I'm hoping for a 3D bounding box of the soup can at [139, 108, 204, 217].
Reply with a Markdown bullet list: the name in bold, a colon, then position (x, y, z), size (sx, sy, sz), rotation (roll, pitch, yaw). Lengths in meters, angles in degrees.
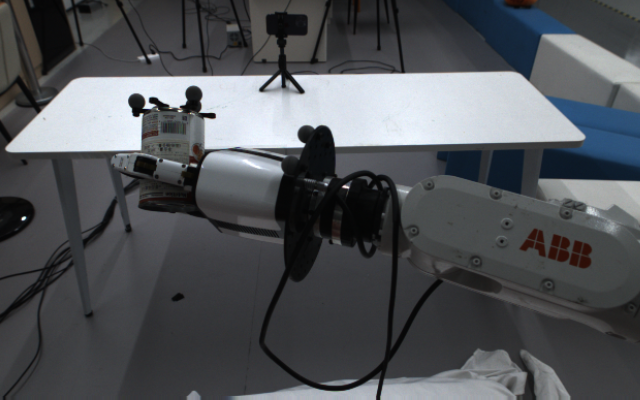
- **soup can**: position (-0.158, -0.040, 0.522), size (0.067, 0.101, 0.067), rotation (-2, -9, 0)
